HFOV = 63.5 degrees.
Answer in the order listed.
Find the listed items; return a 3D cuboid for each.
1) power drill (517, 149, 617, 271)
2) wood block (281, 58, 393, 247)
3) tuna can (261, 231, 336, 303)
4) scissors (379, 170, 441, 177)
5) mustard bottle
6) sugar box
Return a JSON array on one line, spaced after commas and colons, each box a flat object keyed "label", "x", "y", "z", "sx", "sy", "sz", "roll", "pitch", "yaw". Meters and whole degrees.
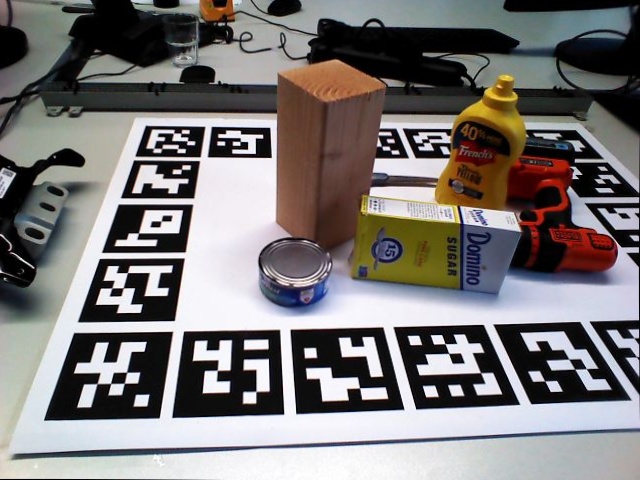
[{"label": "power drill", "x": 0.275, "y": -0.043, "z": 0.681, "sx": 0.185, "sy": 0.057, "sz": 0.185, "roll": 8, "pitch": 49, "yaw": 5}, {"label": "wood block", "x": 0.012, "y": -0.096, "z": 0.624, "sx": 0.090, "sy": 0.207, "sz": 0.090, "roll": -22, "pitch": 49, "yaw": -26}, {"label": "tuna can", "x": -0.024, "y": 0.030, "z": 0.589, "sx": 0.086, "sy": 0.034, "sz": 0.085, "roll": 2, "pitch": 42, "yaw": -3}, {"label": "scissors", "x": 0.079, "y": -0.100, "z": 0.761, "sx": 0.203, "sy": 0.016, "sz": 0.087, "roll": 0, "pitch": 38, "yaw": -3}, {"label": "mustard bottle", "x": 0.227, "y": -0.120, "z": 0.675, "sx": 0.096, "sy": 0.192, "sz": 0.058, "roll": 36, "pitch": 51, "yaw": 29}, {"label": "sugar box", "x": 0.141, "y": 0.004, "z": 0.593, "sx": 0.177, "sy": 0.093, "sz": 0.045, "roll": 8, "pitch": 39, "yaw": 2}]
